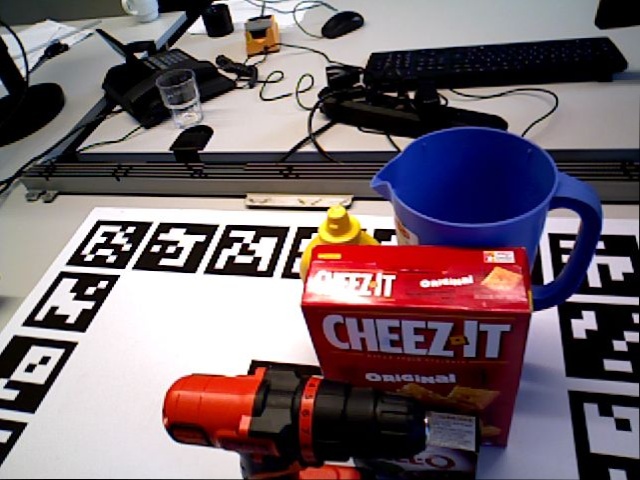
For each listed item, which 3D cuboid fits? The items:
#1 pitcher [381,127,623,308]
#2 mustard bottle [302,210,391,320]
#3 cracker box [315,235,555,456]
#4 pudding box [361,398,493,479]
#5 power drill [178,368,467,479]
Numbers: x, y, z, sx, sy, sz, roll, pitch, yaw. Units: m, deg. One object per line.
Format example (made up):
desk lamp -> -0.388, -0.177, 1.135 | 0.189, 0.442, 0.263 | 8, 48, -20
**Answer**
pitcher -> 0.159, 0.023, 0.505 | 0.190, 0.247, 0.130 | 5, 47, 20
mustard bottle -> 0.032, 0.028, 0.547 | 0.096, 0.195, 0.057 | 12, 50, 23
cracker box -> 0.096, 0.098, 0.454 | 0.165, 0.217, 0.070 | -1, 44, 15
pudding box -> 0.087, 0.171, 0.463 | 0.114, 0.091, 0.038 | 1, 44, 17
power drill -> 0.006, 0.163, 0.390 | 0.185, 0.190, 0.056 | 1, 43, 13
